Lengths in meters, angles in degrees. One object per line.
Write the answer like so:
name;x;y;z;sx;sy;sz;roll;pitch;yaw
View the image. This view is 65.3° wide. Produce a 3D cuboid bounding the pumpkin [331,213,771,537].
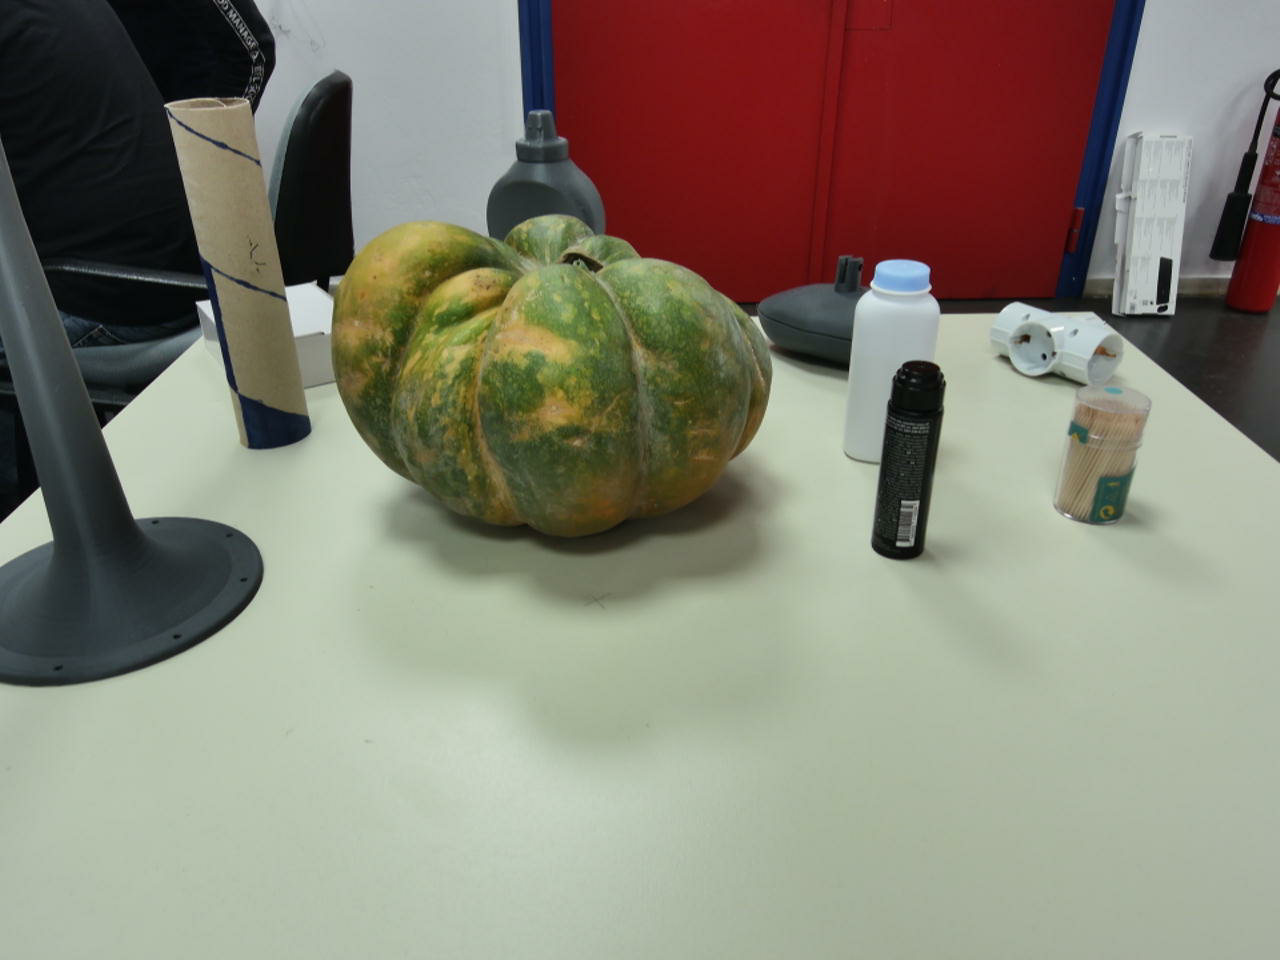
pumpkin;-0.051;-0.072;0.603;0.270;0.173;0.237;18;32;33
